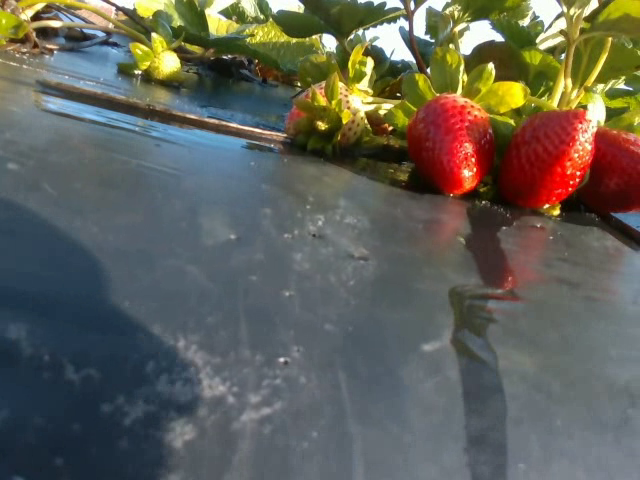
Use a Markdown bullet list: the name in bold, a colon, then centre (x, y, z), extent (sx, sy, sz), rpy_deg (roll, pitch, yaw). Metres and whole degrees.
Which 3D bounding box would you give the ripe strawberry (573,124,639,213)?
- **ripe strawberry**: centre (0.098, -0.021, 0.188), extent (0.035, 0.034, 0.041), rpy_deg (9, 2, -7)

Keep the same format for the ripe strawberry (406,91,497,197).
- **ripe strawberry**: centre (0.042, -0.031, 0.185), extent (0.031, 0.023, 0.046), rpy_deg (12, 38, -5)

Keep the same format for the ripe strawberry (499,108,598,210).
- **ripe strawberry**: centre (0.071, -0.029, 0.182), extent (0.030, 0.037, 0.039), rpy_deg (20, -12, 2)
